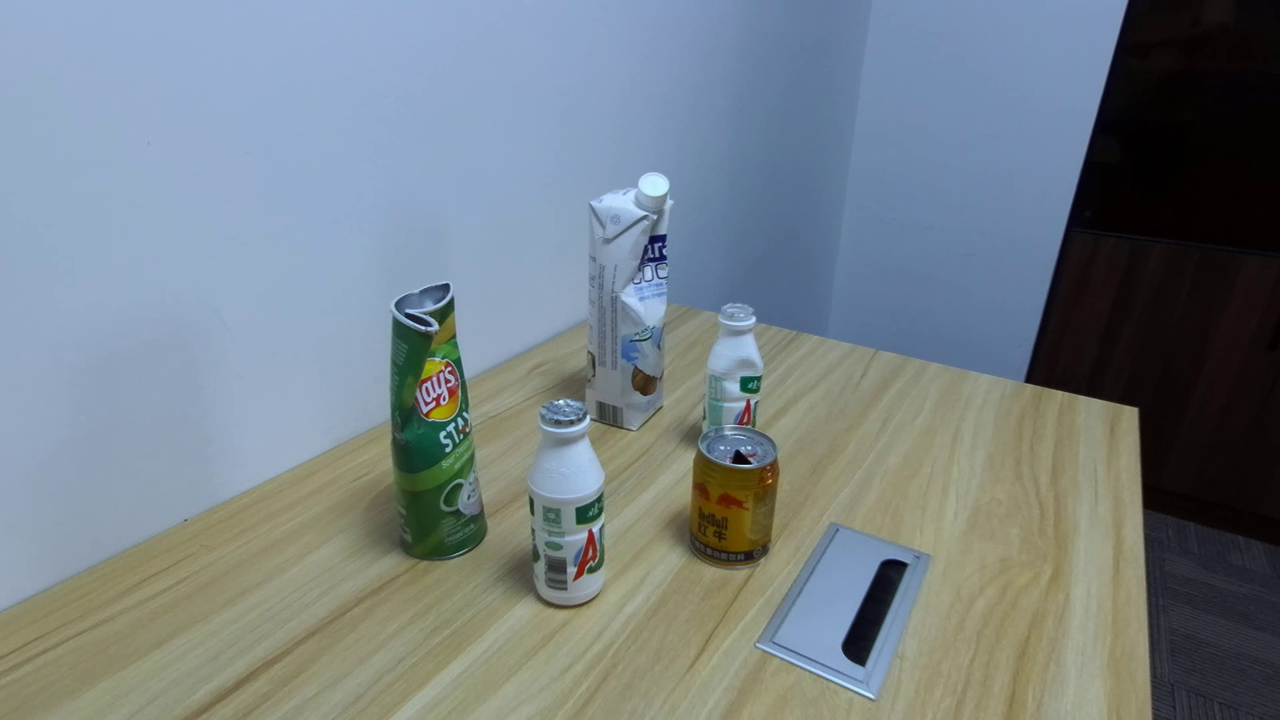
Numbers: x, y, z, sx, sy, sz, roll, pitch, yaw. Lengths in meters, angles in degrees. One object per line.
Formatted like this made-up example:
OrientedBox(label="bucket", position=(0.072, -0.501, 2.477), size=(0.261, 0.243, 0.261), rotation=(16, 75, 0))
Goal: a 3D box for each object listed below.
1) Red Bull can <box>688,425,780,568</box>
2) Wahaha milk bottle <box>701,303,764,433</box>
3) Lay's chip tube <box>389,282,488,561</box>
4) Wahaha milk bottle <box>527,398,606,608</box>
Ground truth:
OrientedBox(label="Red Bull can", position=(0.073, 0.105, 0.550), size=(0.067, 0.093, 0.067), rotation=(2, 24, -1))
OrientedBox(label="Wahaha milk bottle", position=(0.088, 0.022, 0.663), size=(0.055, 0.149, 0.055), rotation=(3, 24, -1))
OrientedBox(label="Lay's chip tube", position=(-0.156, 0.050, 0.533), size=(0.069, 0.201, 0.077), rotation=(-12, 30, -28))
OrientedBox(label="Wahaha milk bottle", position=(-0.050, 0.099, 0.489), size=(0.053, 0.147, 0.053), rotation=(1, 26, 0))
